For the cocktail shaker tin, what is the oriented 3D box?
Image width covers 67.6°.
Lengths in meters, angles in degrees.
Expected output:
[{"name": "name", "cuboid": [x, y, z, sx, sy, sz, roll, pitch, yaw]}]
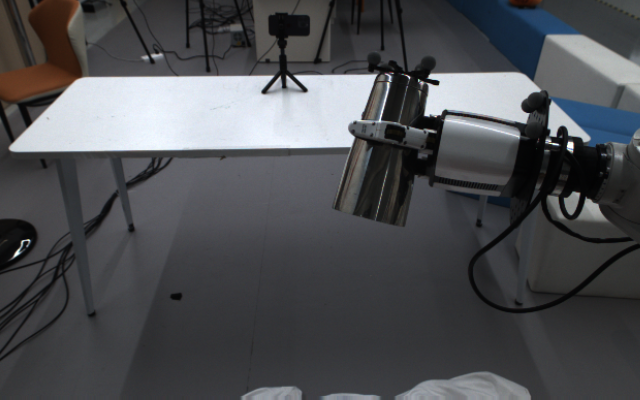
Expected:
[{"name": "cocktail shaker tin", "cuboid": [0.079, -0.062, 0.590, 0.093, 0.170, 0.093, 14, 2, 0]}]
